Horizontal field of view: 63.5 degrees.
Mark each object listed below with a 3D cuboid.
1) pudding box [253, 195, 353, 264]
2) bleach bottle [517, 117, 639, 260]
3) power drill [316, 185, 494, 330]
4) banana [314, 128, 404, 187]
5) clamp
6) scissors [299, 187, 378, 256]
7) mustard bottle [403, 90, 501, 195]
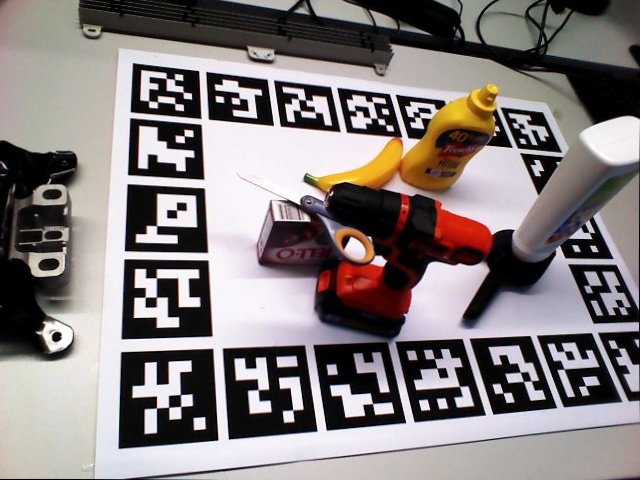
[{"bbox_3d":[-0.021,-0.012,0.656,0.114,0.090,0.038,6,51,-16],"label":"pudding box"},{"bbox_3d":[0.339,-0.045,0.687,0.102,0.252,0.068,-19,63,-20],"label":"bleach bottle"},{"bbox_3d":[0.069,0.023,0.570,0.184,0.188,0.057,12,49,-9],"label":"power drill"},{"bbox_3d":[0.080,-0.127,0.787,0.074,0.039,0.196,34,53,24],"label":"banana"},{"bbox_3d":[0.278,0.021,0.754,0.202,0.037,0.165,-4,63,-23],"label":"clamp"},{"bbox_3d":[-0.011,-0.051,0.604,0.203,0.016,0.087,26,58,-8],"label":"scissors"},{"bbox_3d":[0.204,-0.144,0.760,0.096,0.193,0.058,15,55,-12],"label":"mustard bottle"}]
